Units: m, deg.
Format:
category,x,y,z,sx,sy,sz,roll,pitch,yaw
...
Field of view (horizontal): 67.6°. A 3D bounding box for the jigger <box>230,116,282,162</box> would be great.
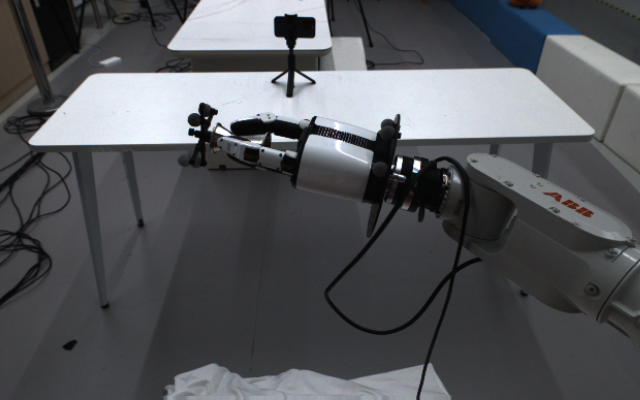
category,x,y,z,sx,sy,sz,roll,pitch,yaw
jigger,-0.094,-0.075,0.618,0.071,0.043,0.043,11,35,5
